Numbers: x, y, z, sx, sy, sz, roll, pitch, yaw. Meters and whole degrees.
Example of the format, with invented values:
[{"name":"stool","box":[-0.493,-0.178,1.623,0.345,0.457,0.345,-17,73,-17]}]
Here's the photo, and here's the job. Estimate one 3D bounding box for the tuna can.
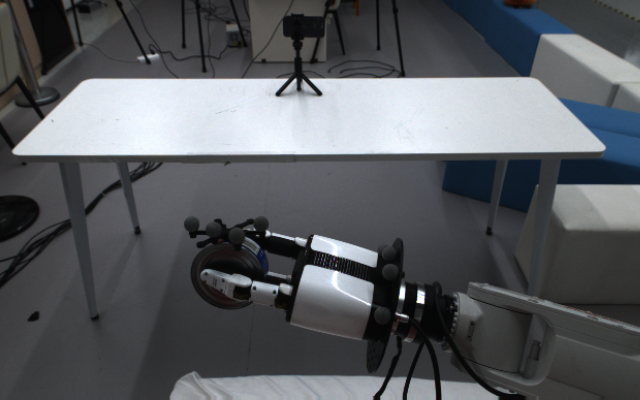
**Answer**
[{"name":"tuna can","box":[-0.102,0.088,0.561,0.085,0.085,0.034,4,16,3]}]
